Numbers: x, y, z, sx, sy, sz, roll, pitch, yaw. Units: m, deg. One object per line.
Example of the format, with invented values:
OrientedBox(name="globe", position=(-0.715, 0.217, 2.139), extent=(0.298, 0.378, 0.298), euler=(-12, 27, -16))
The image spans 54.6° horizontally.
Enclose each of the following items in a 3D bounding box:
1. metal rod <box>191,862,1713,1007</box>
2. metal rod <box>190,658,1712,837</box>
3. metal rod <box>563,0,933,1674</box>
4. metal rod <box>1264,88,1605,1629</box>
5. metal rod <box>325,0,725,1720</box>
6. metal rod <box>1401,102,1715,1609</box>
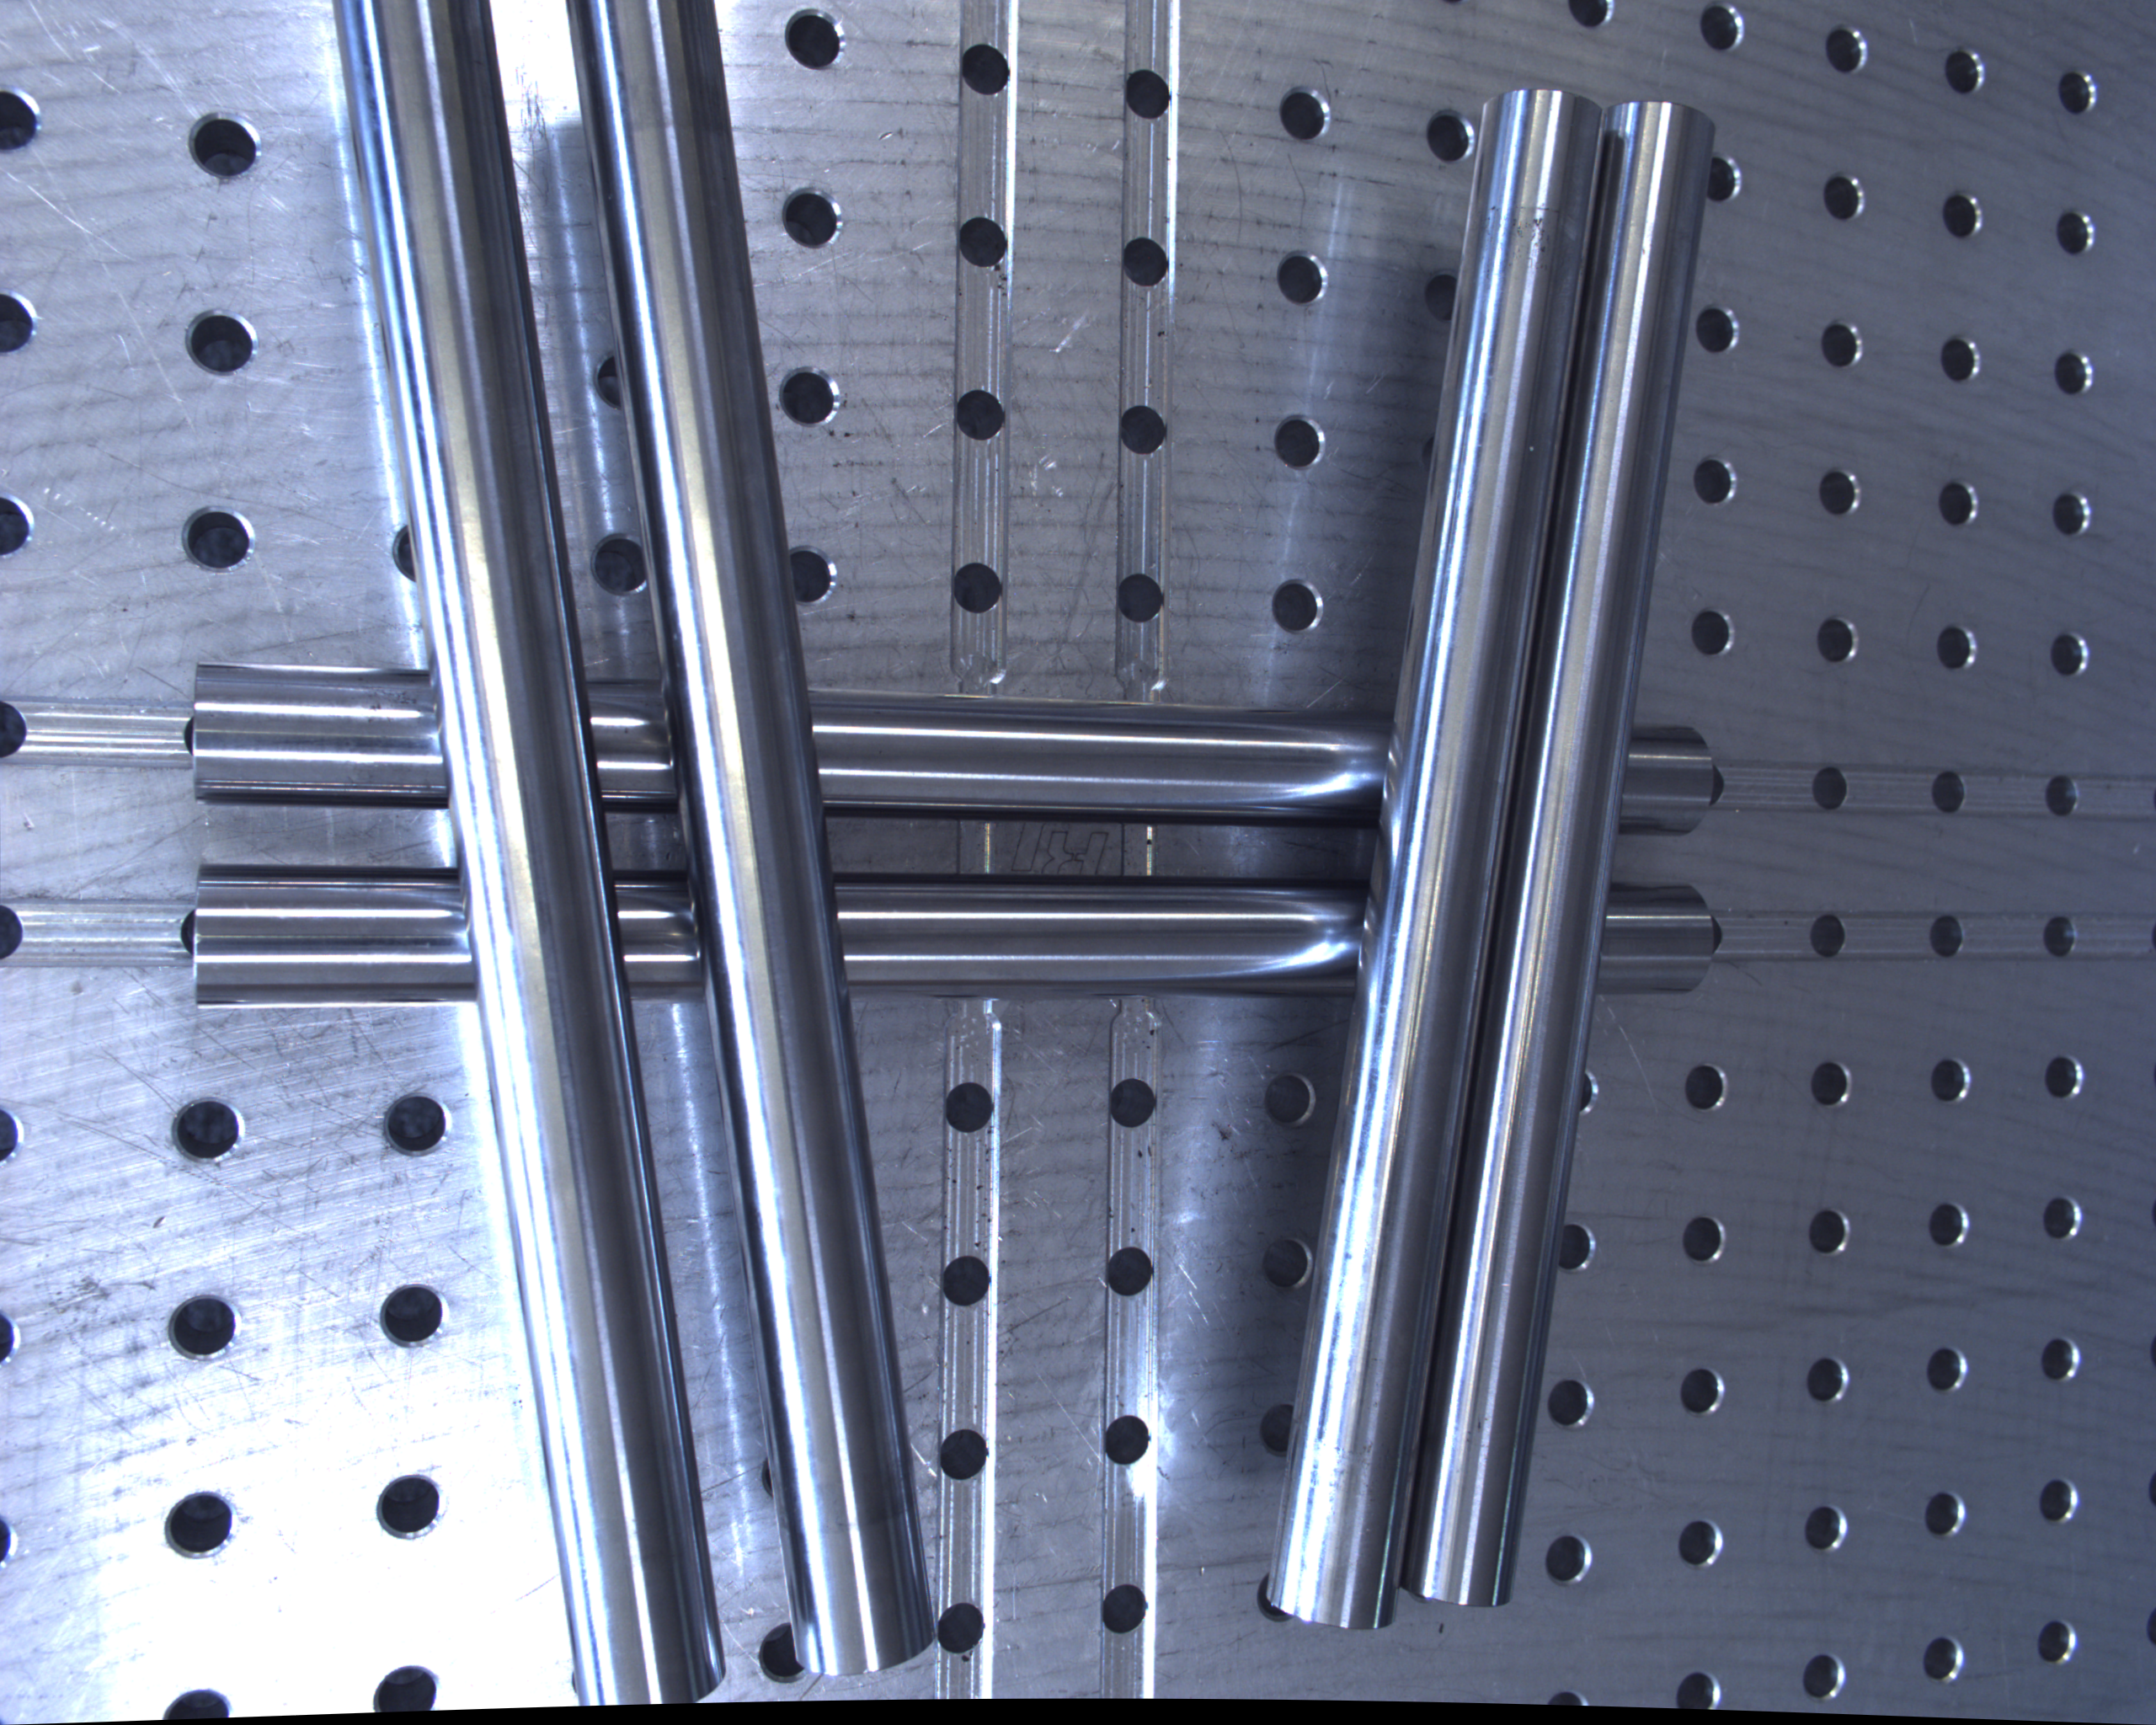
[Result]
OrientedBox(name="metal rod", position=(-0.009, 0.015, 0.410), extent=(0.302, 0.025, 0.025), euler=(1, 90, -20))
OrientedBox(name="metal rod", position=(-0.009, -0.020, 0.409), extent=(0.302, 0.025, 0.025), euler=(1, 90, -20))
OrientedBox(name="metal rod", position=(-0.057, -0.009, 0.365), extent=(0.025, 0.025, 0.298), euler=(-8, 93, -20))
OrientedBox(name="metal rod", position=(0.071, -0.003, 0.413), extent=(0.025, 0.025, 0.299), euler=(10, 87, -20))
OrientedBox(name="metal rod", position=(-0.093, -0.006, 0.352), extent=(0.025, 0.025, 0.298), euler=(-9, 93, -20))
OrientedBox(name="metal rod", position=(0.096, -0.004, 0.422), extent=(0.025, 0.025, 0.299), euler=(10, 87, -20))
